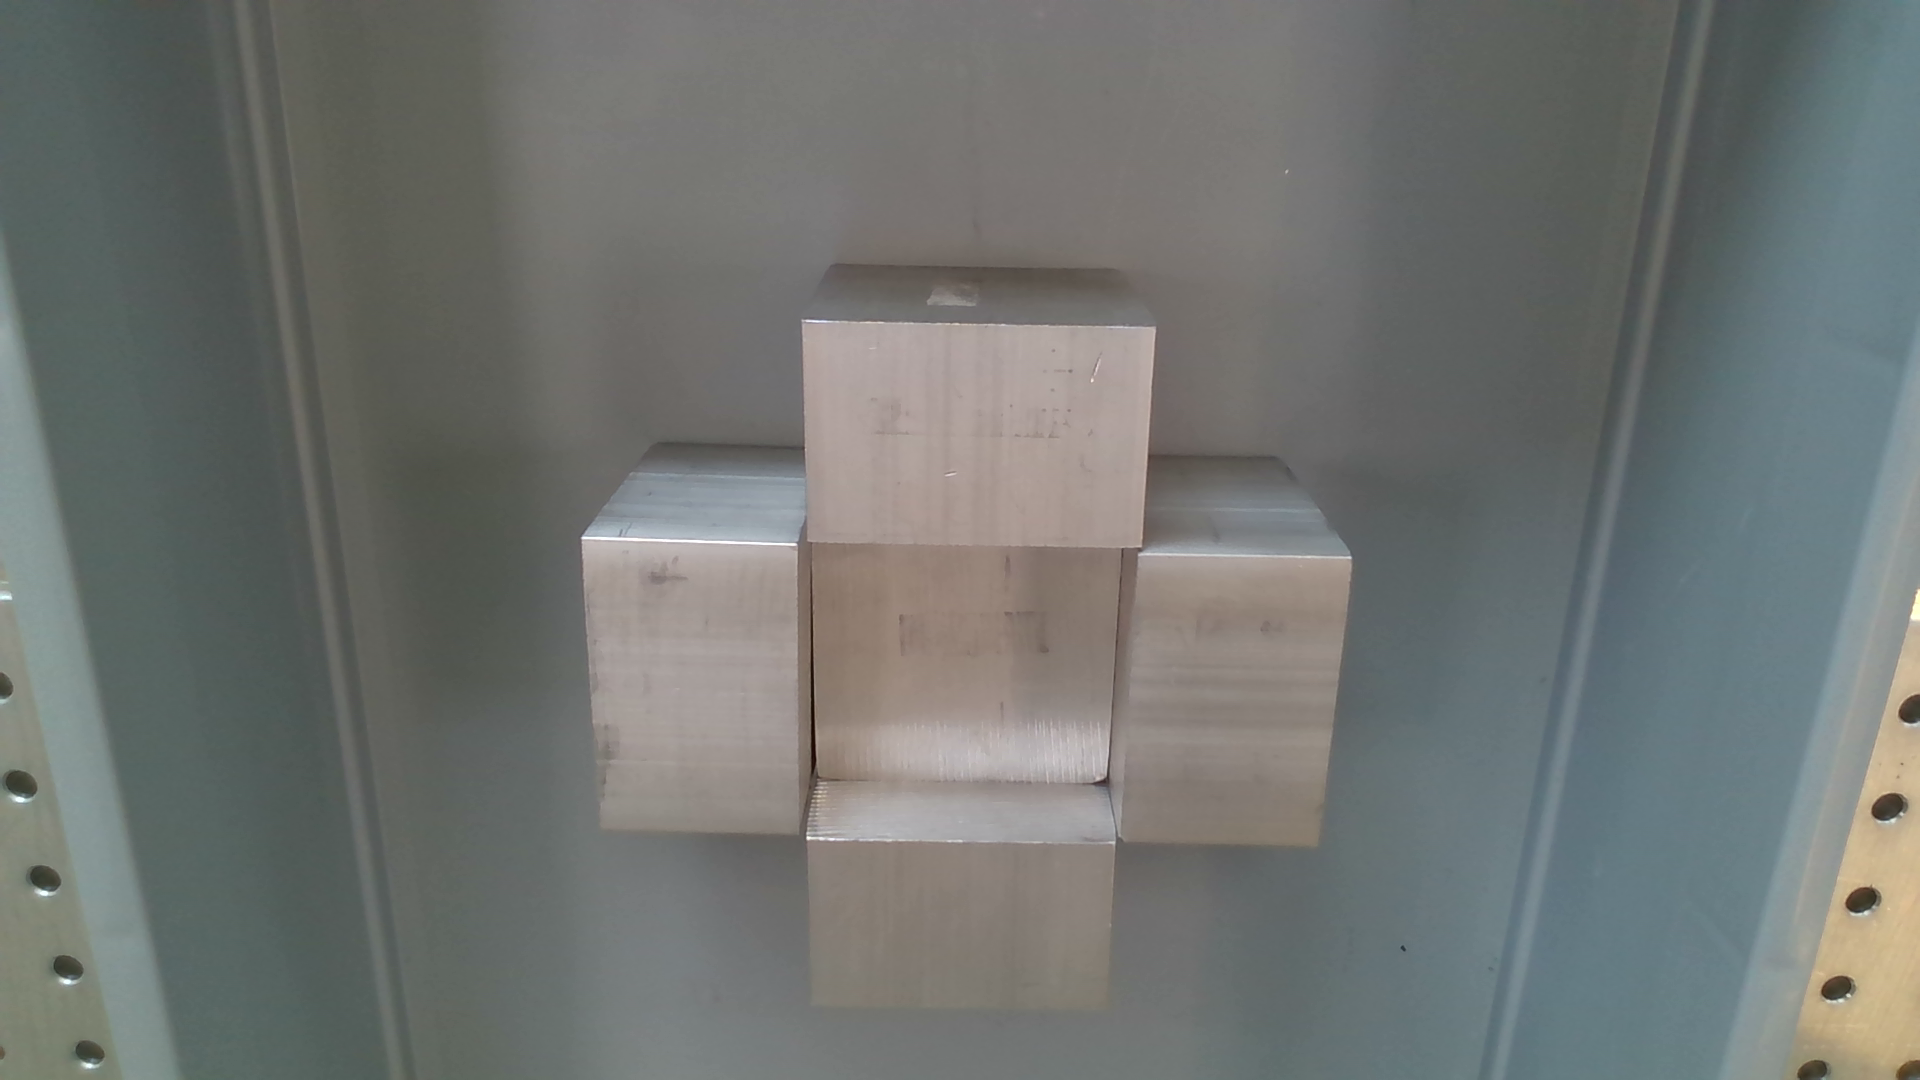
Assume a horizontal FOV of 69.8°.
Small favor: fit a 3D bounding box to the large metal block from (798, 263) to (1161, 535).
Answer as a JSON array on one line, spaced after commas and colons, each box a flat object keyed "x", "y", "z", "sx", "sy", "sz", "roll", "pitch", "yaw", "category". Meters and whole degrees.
[{"x": 0.004, "y": -0.039, "z": 0.350, "sx": 0.080, "sy": 0.080, "sz": 0.050, "roll": 1, "pitch": 110, "yaw": 0, "category": "large metal block"}]

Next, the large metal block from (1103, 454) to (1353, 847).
[{"x": 0.066, "y": 0.027, "z": 0.373, "sx": 0.050, "sy": 0.080, "sz": 0.080, "roll": 1, "pitch": 110, "yaw": 0, "category": "large metal block"}]

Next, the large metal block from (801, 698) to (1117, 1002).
[{"x": -0.001, "y": 0.086, "z": 0.395, "sx": 0.080, "sy": 0.080, "sz": 0.050, "roll": 1, "pitch": 110, "yaw": 0, "category": "large metal block"}]

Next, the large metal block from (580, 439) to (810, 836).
[{"x": -0.065, "y": 0.023, "z": 0.371, "sx": 0.050, "sy": 0.080, "sz": 0.080, "roll": 2, "pitch": 110, "yaw": -1, "category": "large metal block"}]

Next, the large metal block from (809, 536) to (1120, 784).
[{"x": 0.001, "y": 0.020, "z": 0.386, "sx": 0.080, "sy": 0.050, "sz": 0.080, "roll": 1, "pitch": 110, "yaw": 0, "category": "large metal block"}]
